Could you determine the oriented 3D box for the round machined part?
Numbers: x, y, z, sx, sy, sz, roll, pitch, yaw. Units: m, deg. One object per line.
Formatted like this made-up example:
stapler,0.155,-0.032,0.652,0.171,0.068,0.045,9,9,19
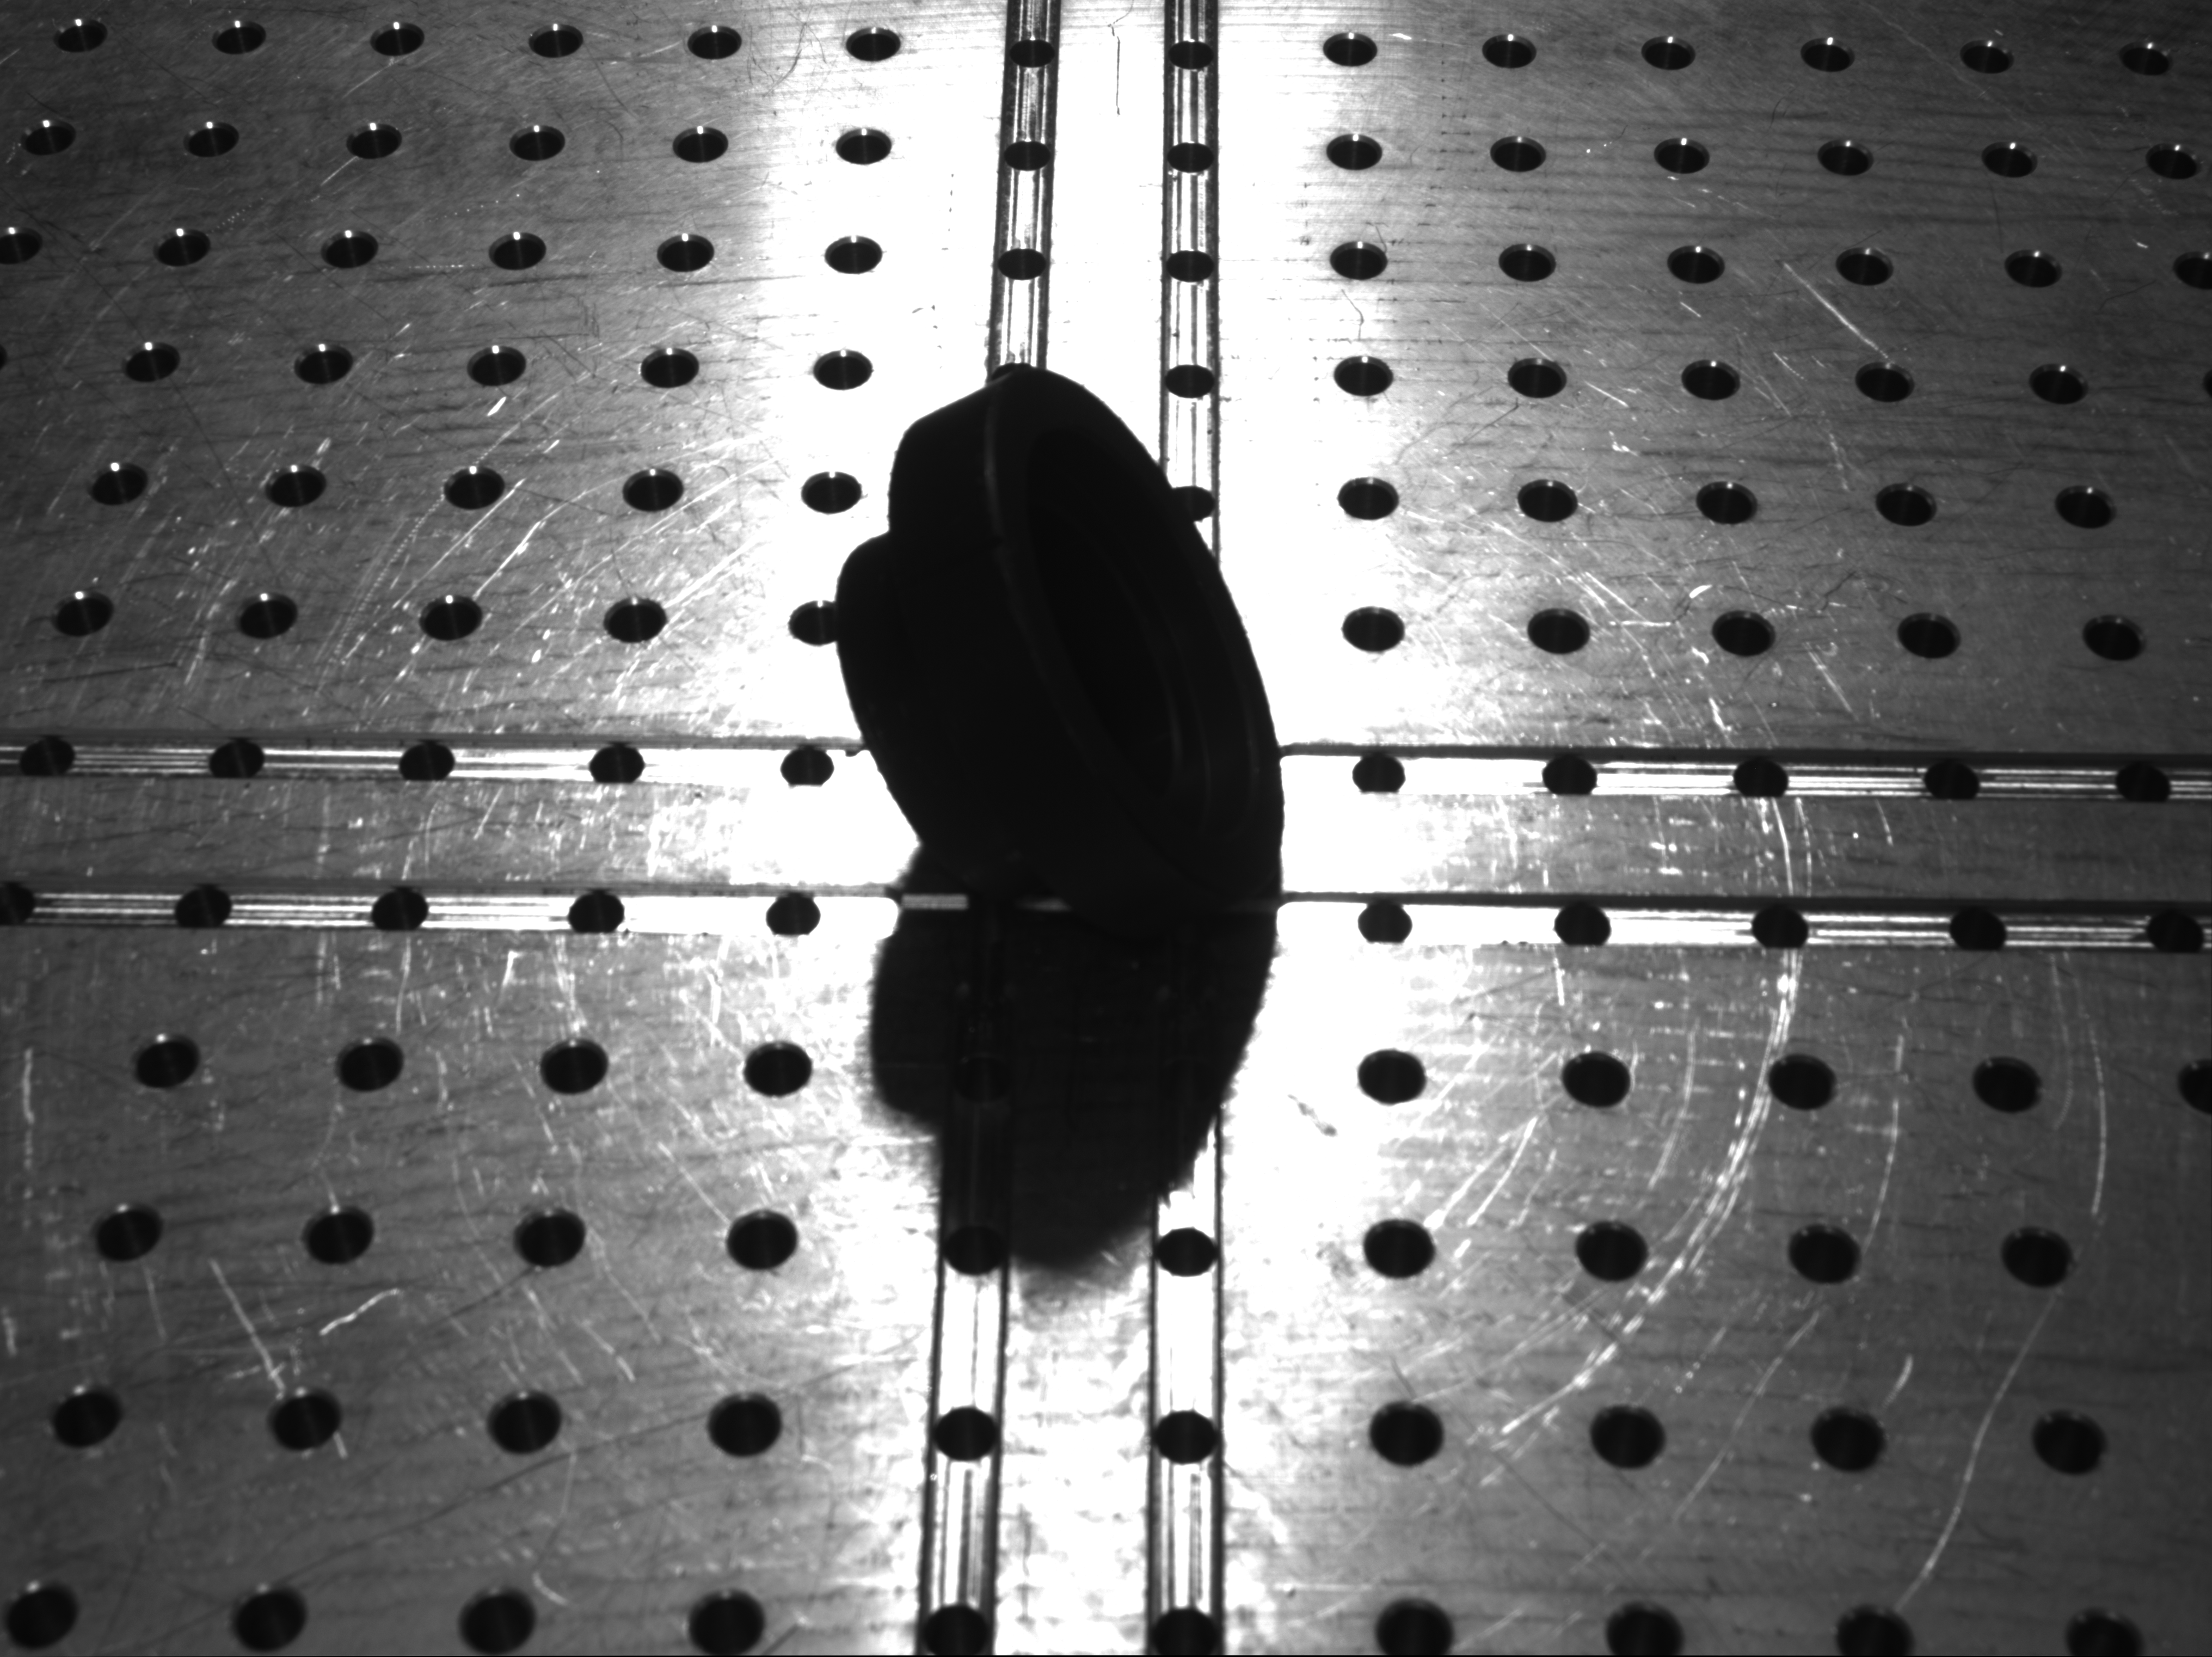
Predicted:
round machined part,-0.009,-0.027,0.631,0.042,0.098,0.098,-23,46,22
